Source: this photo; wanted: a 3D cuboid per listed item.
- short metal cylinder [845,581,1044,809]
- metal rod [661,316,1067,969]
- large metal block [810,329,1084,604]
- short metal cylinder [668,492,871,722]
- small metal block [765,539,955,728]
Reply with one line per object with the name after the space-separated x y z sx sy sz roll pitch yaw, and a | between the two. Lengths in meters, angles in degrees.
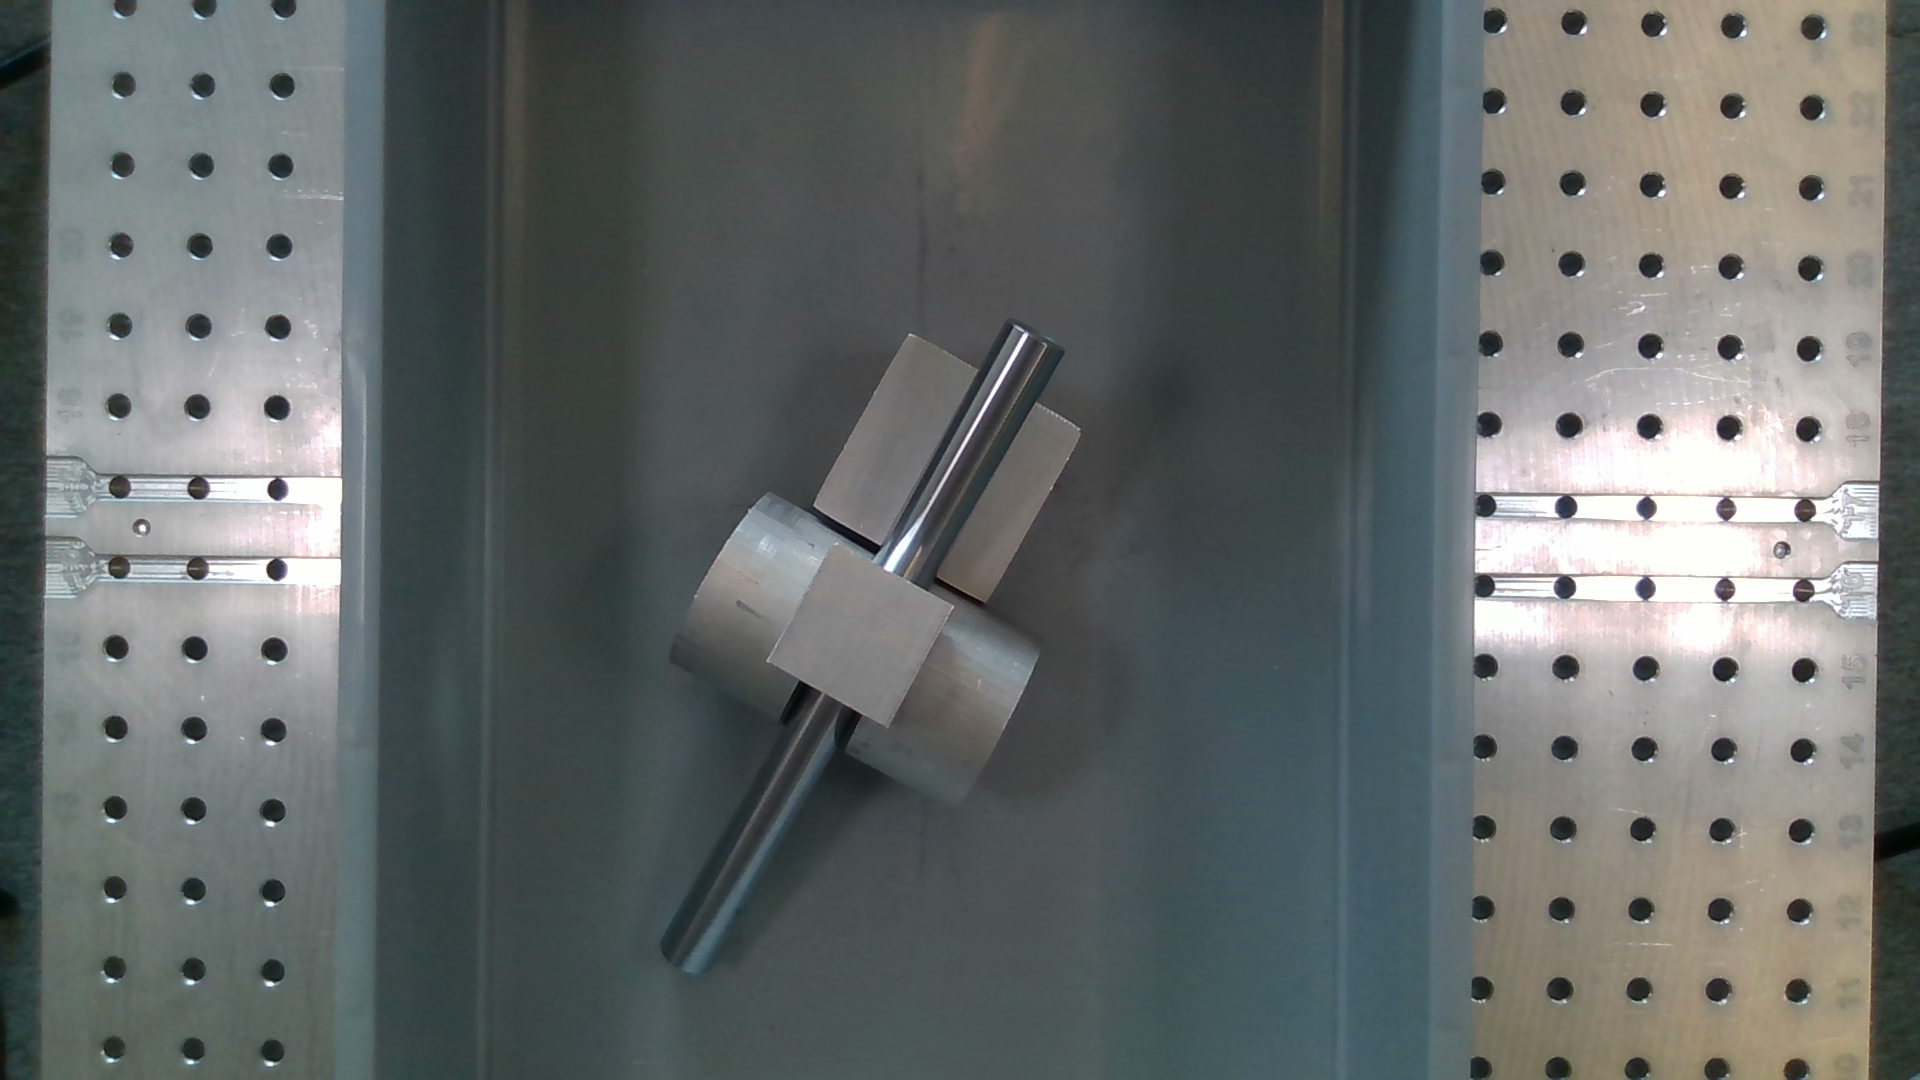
-0.007 0.062 0.560 0.050 0.080 0.080 28 90 0 | short metal cylinder
-0.044 0.049 0.547 0.025 0.025 0.300 30 106 0 | metal rod
-0.005 -0.029 0.571 0.080 0.050 0.080 29 90 0 | large metal block
-0.075 0.027 0.559 0.050 0.080 0.080 30 90 0 | short metal cylinder
-0.037 0.035 0.508 0.050 0.025 0.050 29 82 0 | small metal block
